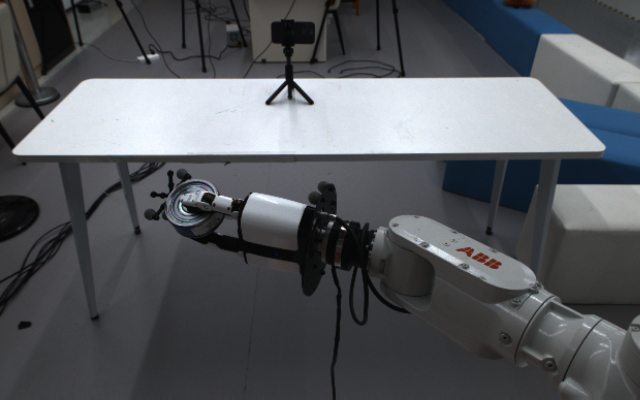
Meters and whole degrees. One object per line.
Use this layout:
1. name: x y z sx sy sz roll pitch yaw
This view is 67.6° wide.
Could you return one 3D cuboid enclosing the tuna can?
1. tuna can: -0.185 0.011 0.722 0.085 0.034 0.085 -4 60 6
